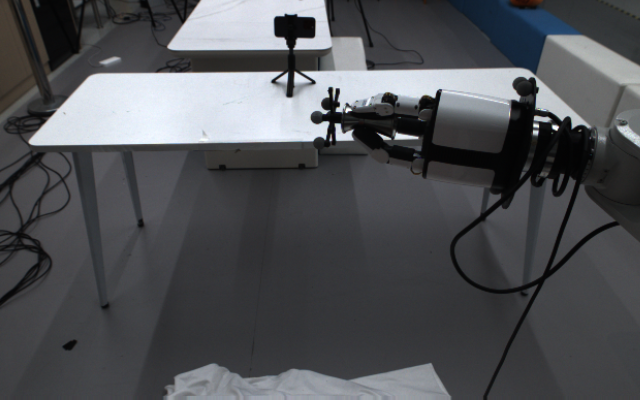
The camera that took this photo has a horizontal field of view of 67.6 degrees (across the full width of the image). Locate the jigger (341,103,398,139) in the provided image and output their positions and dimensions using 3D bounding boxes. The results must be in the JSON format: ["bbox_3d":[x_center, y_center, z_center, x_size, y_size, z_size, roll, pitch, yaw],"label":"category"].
[{"bbox_3d":[0.072,-0.109,0.635,0.071,0.043,0.043,8,35,14],"label":"jigger"}]
